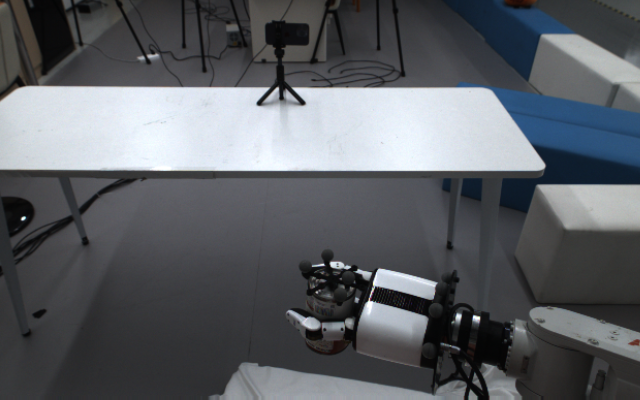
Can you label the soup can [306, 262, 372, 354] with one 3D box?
[{"bbox_3d":[0.015,0.154,0.668,0.067,0.101,0.067,3,30,-2],"label":"soup can"}]
